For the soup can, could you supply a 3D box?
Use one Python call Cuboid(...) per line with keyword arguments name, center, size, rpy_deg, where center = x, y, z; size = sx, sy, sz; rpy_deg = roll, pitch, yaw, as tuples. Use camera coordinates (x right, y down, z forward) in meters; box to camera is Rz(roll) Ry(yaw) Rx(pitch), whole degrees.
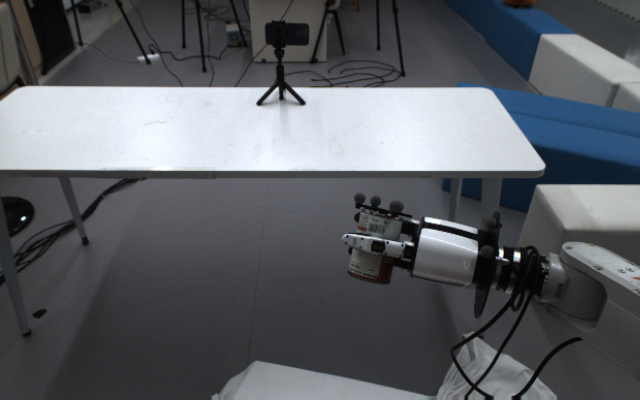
Cuboid(name="soup can", center=(0.085, 0.070, 0.739), size=(0.067, 0.101, 0.067), rpy_deg=(11, 2, 0))
